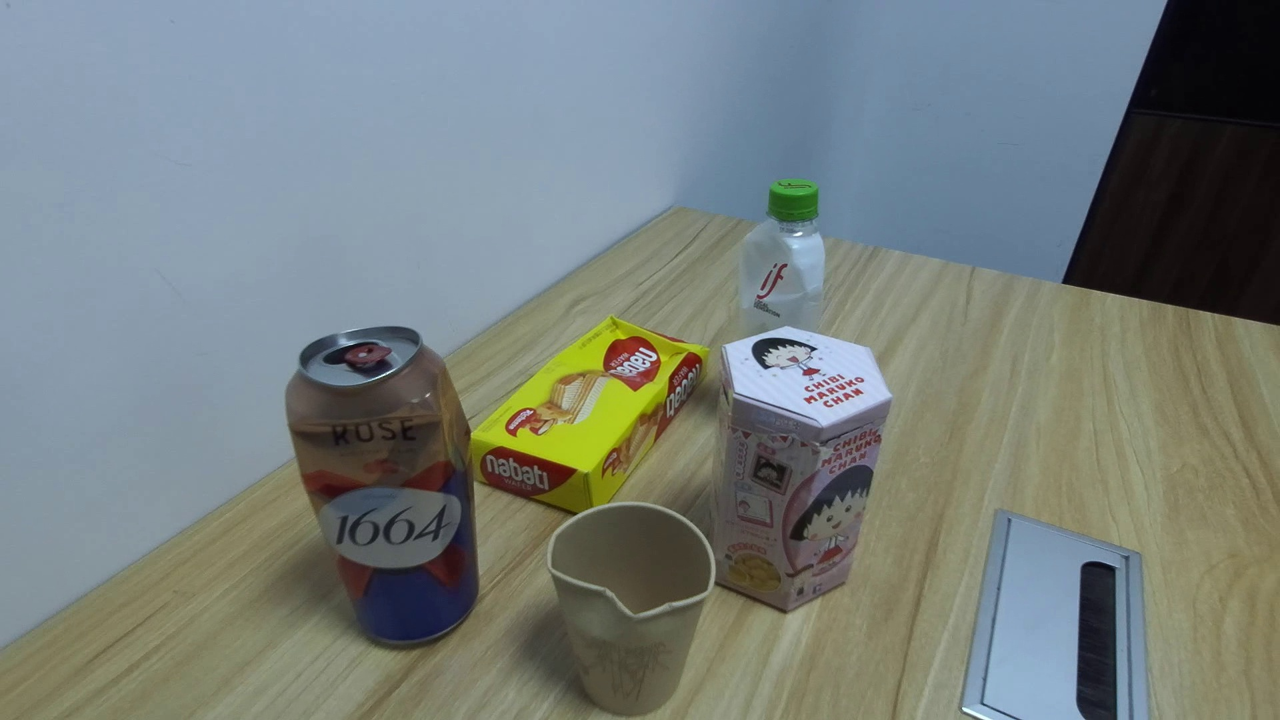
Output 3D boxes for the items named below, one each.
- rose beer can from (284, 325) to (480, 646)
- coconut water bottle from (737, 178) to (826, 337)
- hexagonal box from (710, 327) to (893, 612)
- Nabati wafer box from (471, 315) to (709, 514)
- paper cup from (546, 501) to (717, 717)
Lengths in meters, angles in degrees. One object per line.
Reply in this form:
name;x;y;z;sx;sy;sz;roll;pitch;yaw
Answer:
rose beer can;-0.123;0.066;0.358;0.076;0.167;0.065;1;30;4
coconut water bottle;0.094;-0.026;0.482;0.067;0.187;0.067;1;27;0
hexagonal box;0.083;0.061;0.390;0.091;0.136;0.083;-18;37;-26
Nabati wafer box;-0.027;0.029;0.530;0.096;0.042;0.204;15;35;24
paper cup;-0.005;0.123;0.342;0.074;0.081;0.068;-12;33;-21
